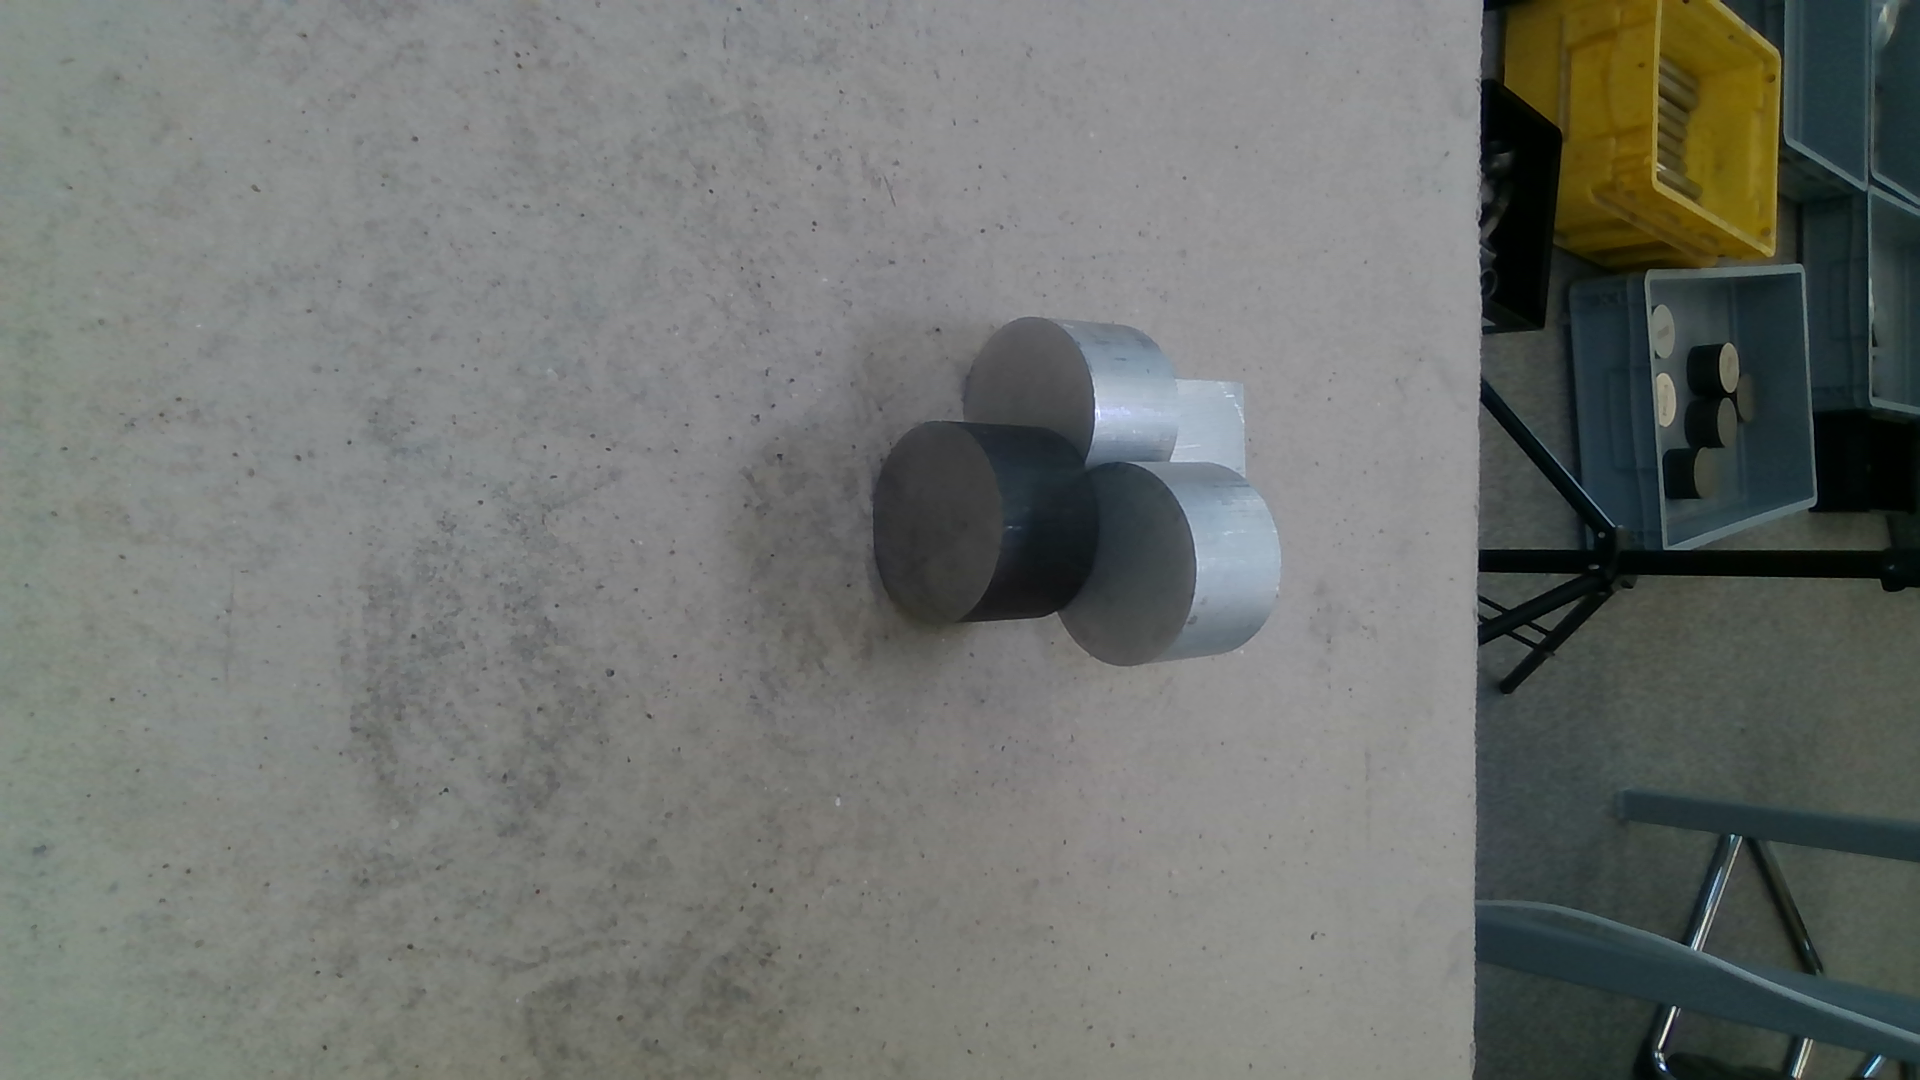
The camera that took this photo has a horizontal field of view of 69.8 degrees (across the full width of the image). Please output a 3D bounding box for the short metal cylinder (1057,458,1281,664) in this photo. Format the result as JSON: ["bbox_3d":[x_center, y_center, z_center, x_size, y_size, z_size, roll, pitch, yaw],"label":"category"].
[{"bbox_3d":[0.080,0.007,0.551,0.050,0.080,0.080,-3,92,-40],"label":"short metal cylinder"}]

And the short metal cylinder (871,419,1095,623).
[{"bbox_3d":[0.008,-0.008,0.556,0.050,0.080,0.080,-1,90,-40],"label":"short metal cylinder"}]

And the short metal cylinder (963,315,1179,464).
[{"bbox_3d":[0.046,-0.054,0.588,0.050,0.080,0.080,-3,92,-40],"label":"short metal cylinder"}]

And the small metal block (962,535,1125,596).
[{"bbox_3d":[0.036,0.011,0.601,0.050,0.050,0.025,1,89,-40],"label":"small metal block"}]

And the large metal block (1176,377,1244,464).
[{"bbox_3d":[0.087,-0.033,0.642,0.080,0.050,0.080,-3,92,-40],"label":"large metal block"}]
